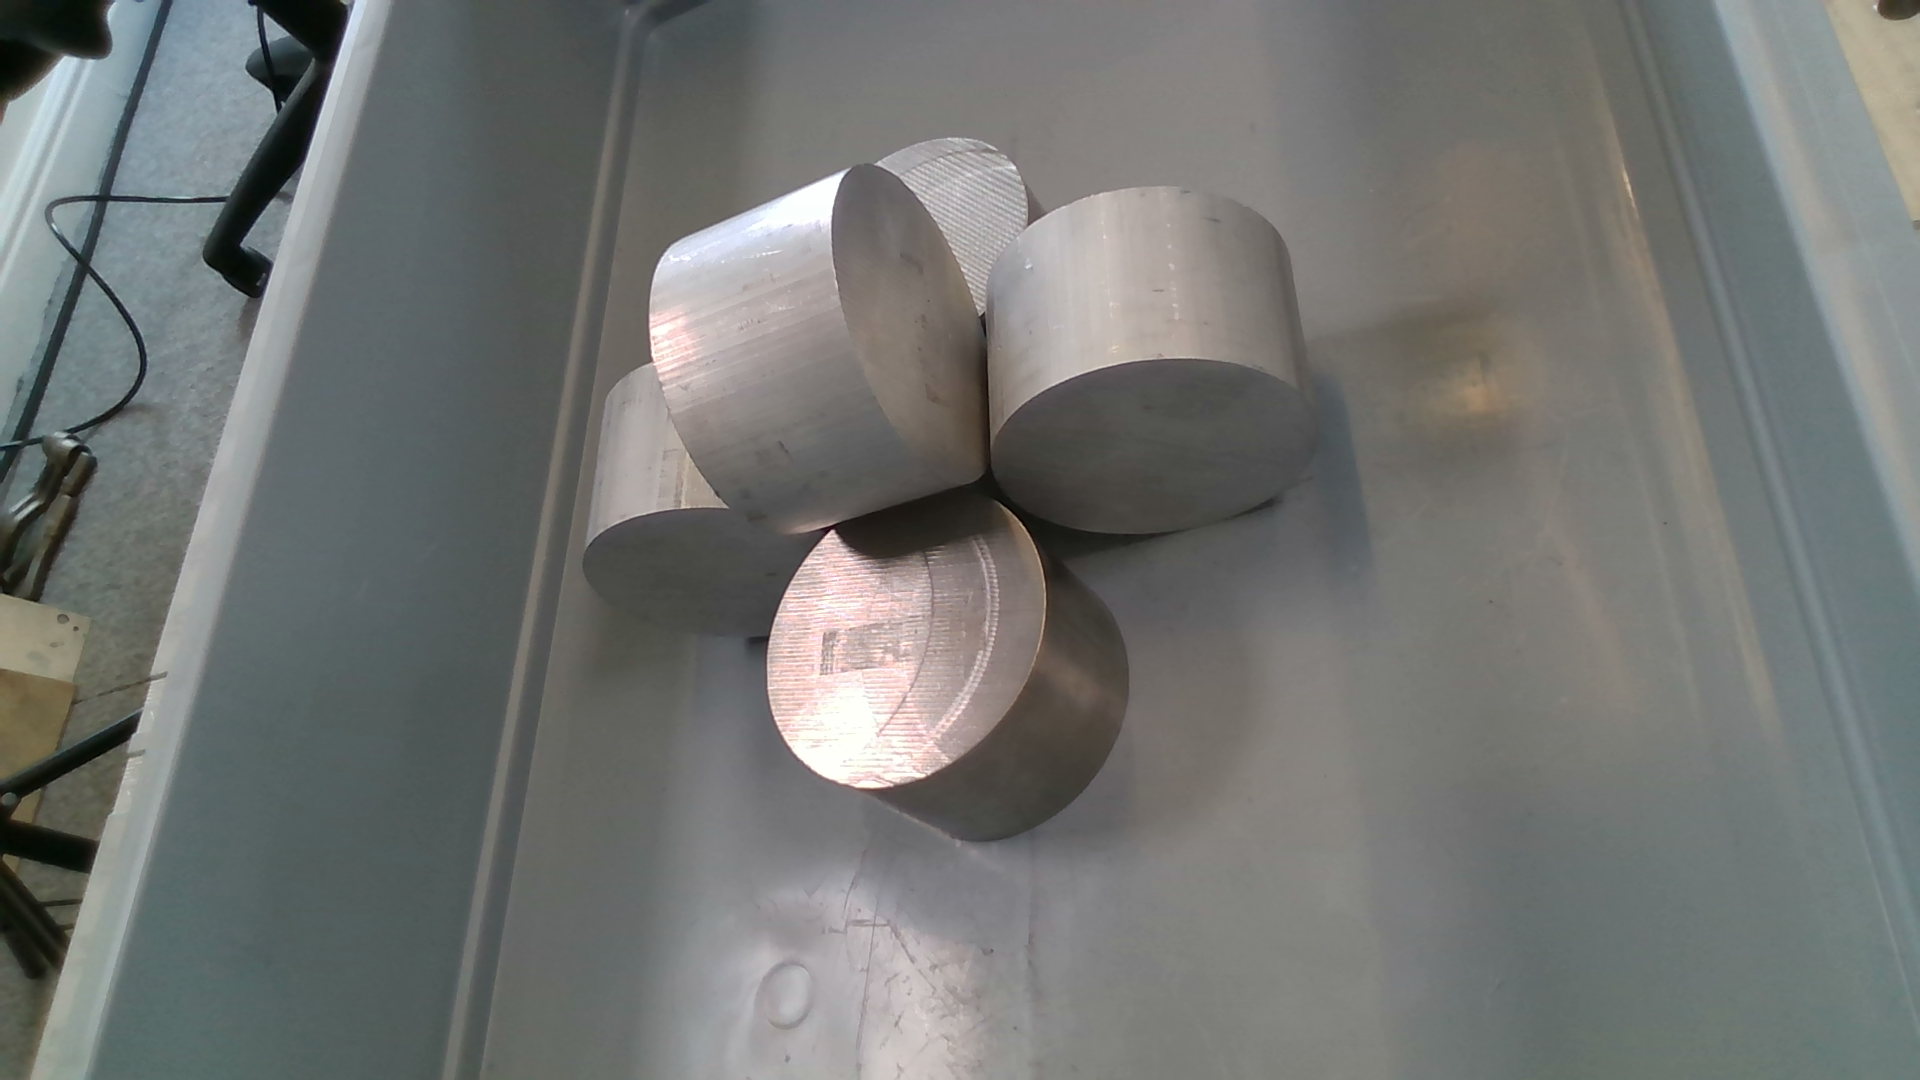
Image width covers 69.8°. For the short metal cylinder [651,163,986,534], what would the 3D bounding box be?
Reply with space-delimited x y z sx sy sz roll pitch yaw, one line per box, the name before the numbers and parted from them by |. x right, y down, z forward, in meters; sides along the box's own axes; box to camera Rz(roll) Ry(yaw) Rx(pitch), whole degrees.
short metal cylinder | -0.031 -0.046 0.342 0.050 0.080 0.080 -15 58 24

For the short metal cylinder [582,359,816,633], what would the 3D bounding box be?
short metal cylinder | -0.067 -0.012 0.403 0.080 0.080 0.050 -16 59 24

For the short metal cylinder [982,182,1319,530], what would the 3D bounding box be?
short metal cylinder | 0.047 -0.044 0.350 0.080 0.080 0.050 -16 59 24

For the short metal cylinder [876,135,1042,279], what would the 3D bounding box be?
short metal cylinder | -0.005 -0.074 0.417 0.080 0.050 0.080 -14 59 25

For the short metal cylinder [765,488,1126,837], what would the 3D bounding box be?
short metal cylinder | -0.004 0.032 0.360 0.080 0.050 0.080 -14 59 25
